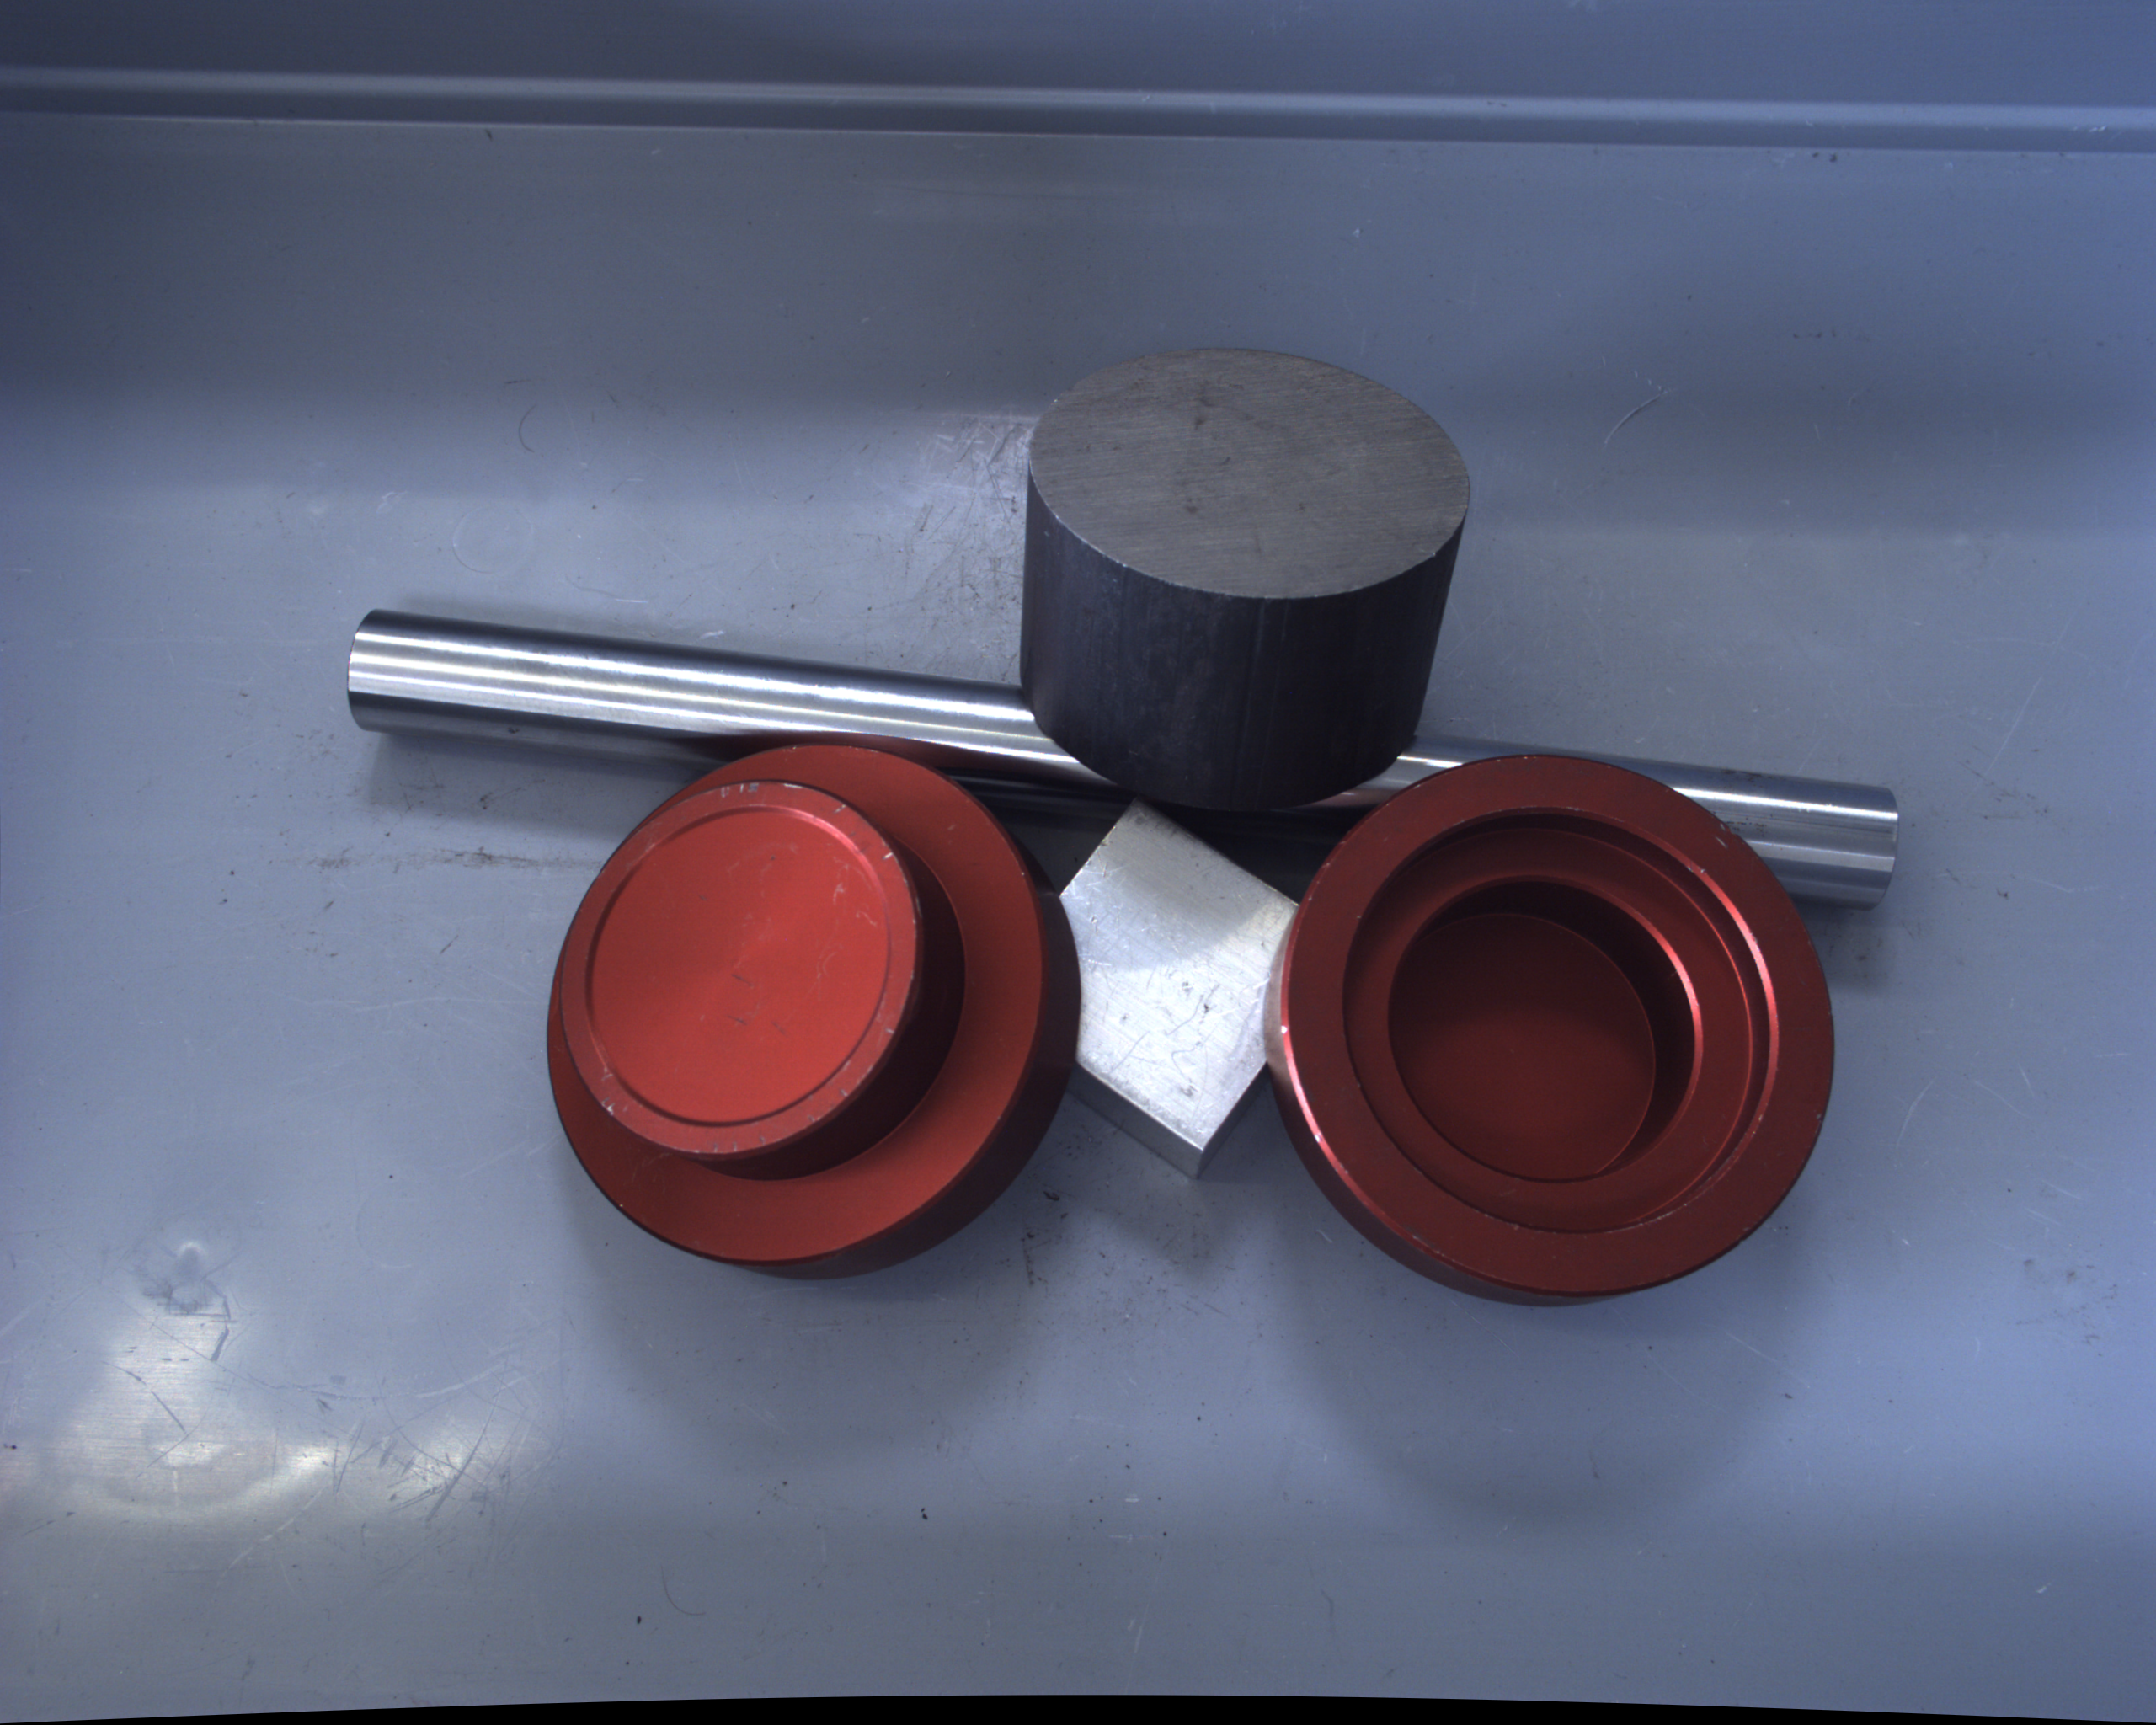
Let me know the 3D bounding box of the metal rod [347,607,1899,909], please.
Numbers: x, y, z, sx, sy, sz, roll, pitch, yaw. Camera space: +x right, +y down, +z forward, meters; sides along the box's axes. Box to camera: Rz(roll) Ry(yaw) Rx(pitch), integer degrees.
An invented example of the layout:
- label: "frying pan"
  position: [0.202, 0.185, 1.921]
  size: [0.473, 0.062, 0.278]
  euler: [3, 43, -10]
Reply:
- label: "metal rod"
  position: [0.007, -0.021, 0.416]
  size: [0.302, 0.025, 0.025]
  euler: [7, 70, 2]

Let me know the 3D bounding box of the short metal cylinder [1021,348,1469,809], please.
- label: "short metal cylinder"
  position: [0.030, -0.056, 0.399]
  size: [0.081, 0.050, 0.080]
  euler: [3, 44, -2]

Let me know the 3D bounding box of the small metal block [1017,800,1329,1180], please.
- label: "small metal block"
  position: [0.017, 0.024, 0.399]
  size: [0.050, 0.025, 0.050]
  euler: [35, 73, 11]

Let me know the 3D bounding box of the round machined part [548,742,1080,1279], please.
- label: "round machined part"
  position: [-0.053, 0.023, 0.376]
  size: [0.098, 0.042, 0.098]
  euler: [-6, 70, 17]

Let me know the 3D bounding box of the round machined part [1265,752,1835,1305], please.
- label: "round machined part"
  position: [0.083, 0.032, 0.385]
  size: [0.099, 0.042, 0.098]
  euler: [1, 72, -3]
